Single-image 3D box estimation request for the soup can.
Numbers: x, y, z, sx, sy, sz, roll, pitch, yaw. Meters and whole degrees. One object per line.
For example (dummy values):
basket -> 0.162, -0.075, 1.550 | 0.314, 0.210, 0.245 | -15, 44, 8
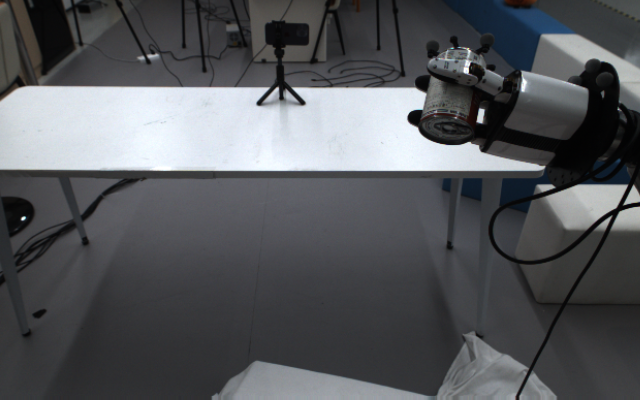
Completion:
soup can -> 0.168, -0.131, 0.608 | 0.067, 0.067, 0.101 | 11, 72, 13
